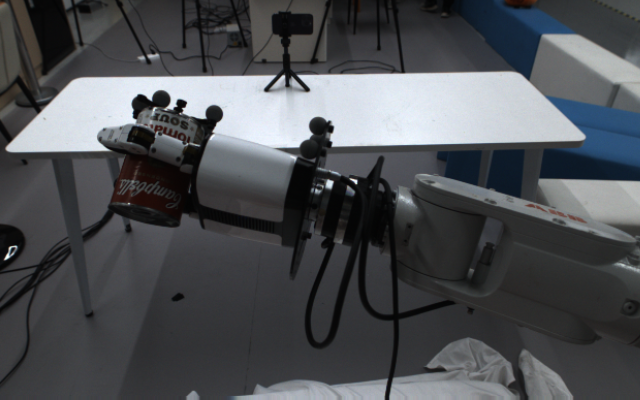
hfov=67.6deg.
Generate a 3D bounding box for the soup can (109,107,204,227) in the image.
[{"bbox_3d":[-0.157,-0.030,0.474,0.067,0.067,0.101,8,72,8],"label":"soup can"}]
